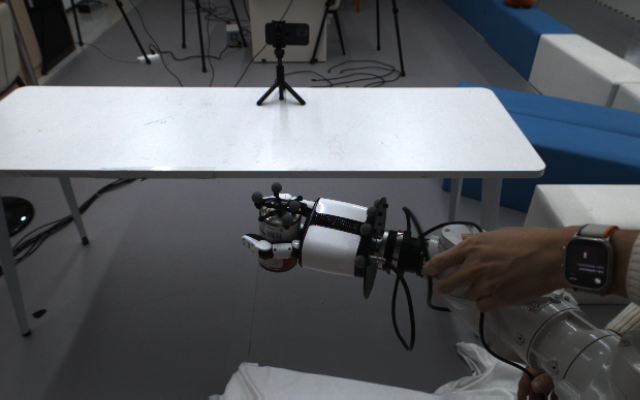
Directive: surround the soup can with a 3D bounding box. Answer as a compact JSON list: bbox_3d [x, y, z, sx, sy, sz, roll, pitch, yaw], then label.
[{"bbox_3d":[-0.065,0.059,0.777,0.067,0.101,0.067,5,36,-4],"label":"soup can"}]
